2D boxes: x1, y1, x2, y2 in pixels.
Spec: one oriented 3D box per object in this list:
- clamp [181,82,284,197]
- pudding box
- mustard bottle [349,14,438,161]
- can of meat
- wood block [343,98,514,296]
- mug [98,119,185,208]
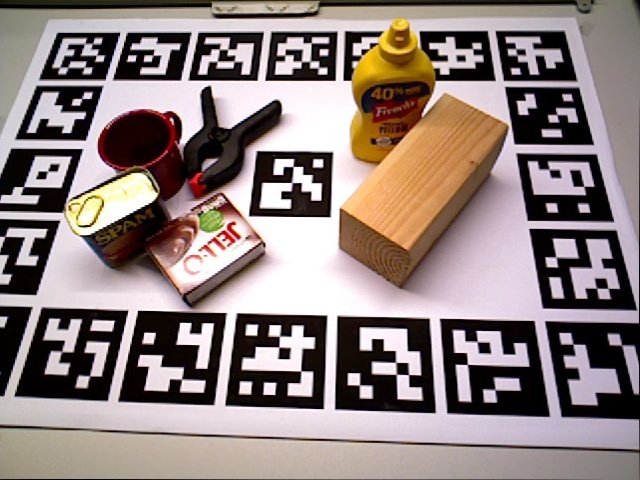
[{"bbox_3d":[-0.129,-0.129,0.701,0.122,0.037,0.162,18,66,10],"label":"clamp"},{"bbox_3d":[-0.128,0.016,0.618,0.112,0.039,0.090,-35,66,-17],"label":"pudding box"},{"bbox_3d":[0.083,-0.170,0.618,0.096,0.194,0.058,-4,61,0],"label":"mustard bottle"},{"bbox_3d":[-0.225,-0.018,0.608,0.100,0.085,0.057,-27,65,-12],"label":"can of meat"},{"bbox_3d":[0.123,-0.052,0.617,0.090,0.092,0.203,34,66,20],"label":"wood block"},{"bbox_3d":[-0.212,-0.098,0.682,0.093,0.083,0.115,21,66,12],"label":"mug"}]
